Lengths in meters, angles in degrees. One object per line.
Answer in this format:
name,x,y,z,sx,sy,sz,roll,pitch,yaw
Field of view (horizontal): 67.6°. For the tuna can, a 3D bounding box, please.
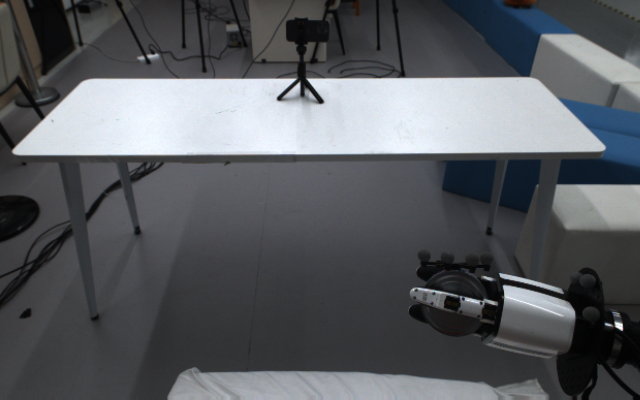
tuna can,0.178,0.131,0.635,0.085,0.085,0.034,14,-3,16
